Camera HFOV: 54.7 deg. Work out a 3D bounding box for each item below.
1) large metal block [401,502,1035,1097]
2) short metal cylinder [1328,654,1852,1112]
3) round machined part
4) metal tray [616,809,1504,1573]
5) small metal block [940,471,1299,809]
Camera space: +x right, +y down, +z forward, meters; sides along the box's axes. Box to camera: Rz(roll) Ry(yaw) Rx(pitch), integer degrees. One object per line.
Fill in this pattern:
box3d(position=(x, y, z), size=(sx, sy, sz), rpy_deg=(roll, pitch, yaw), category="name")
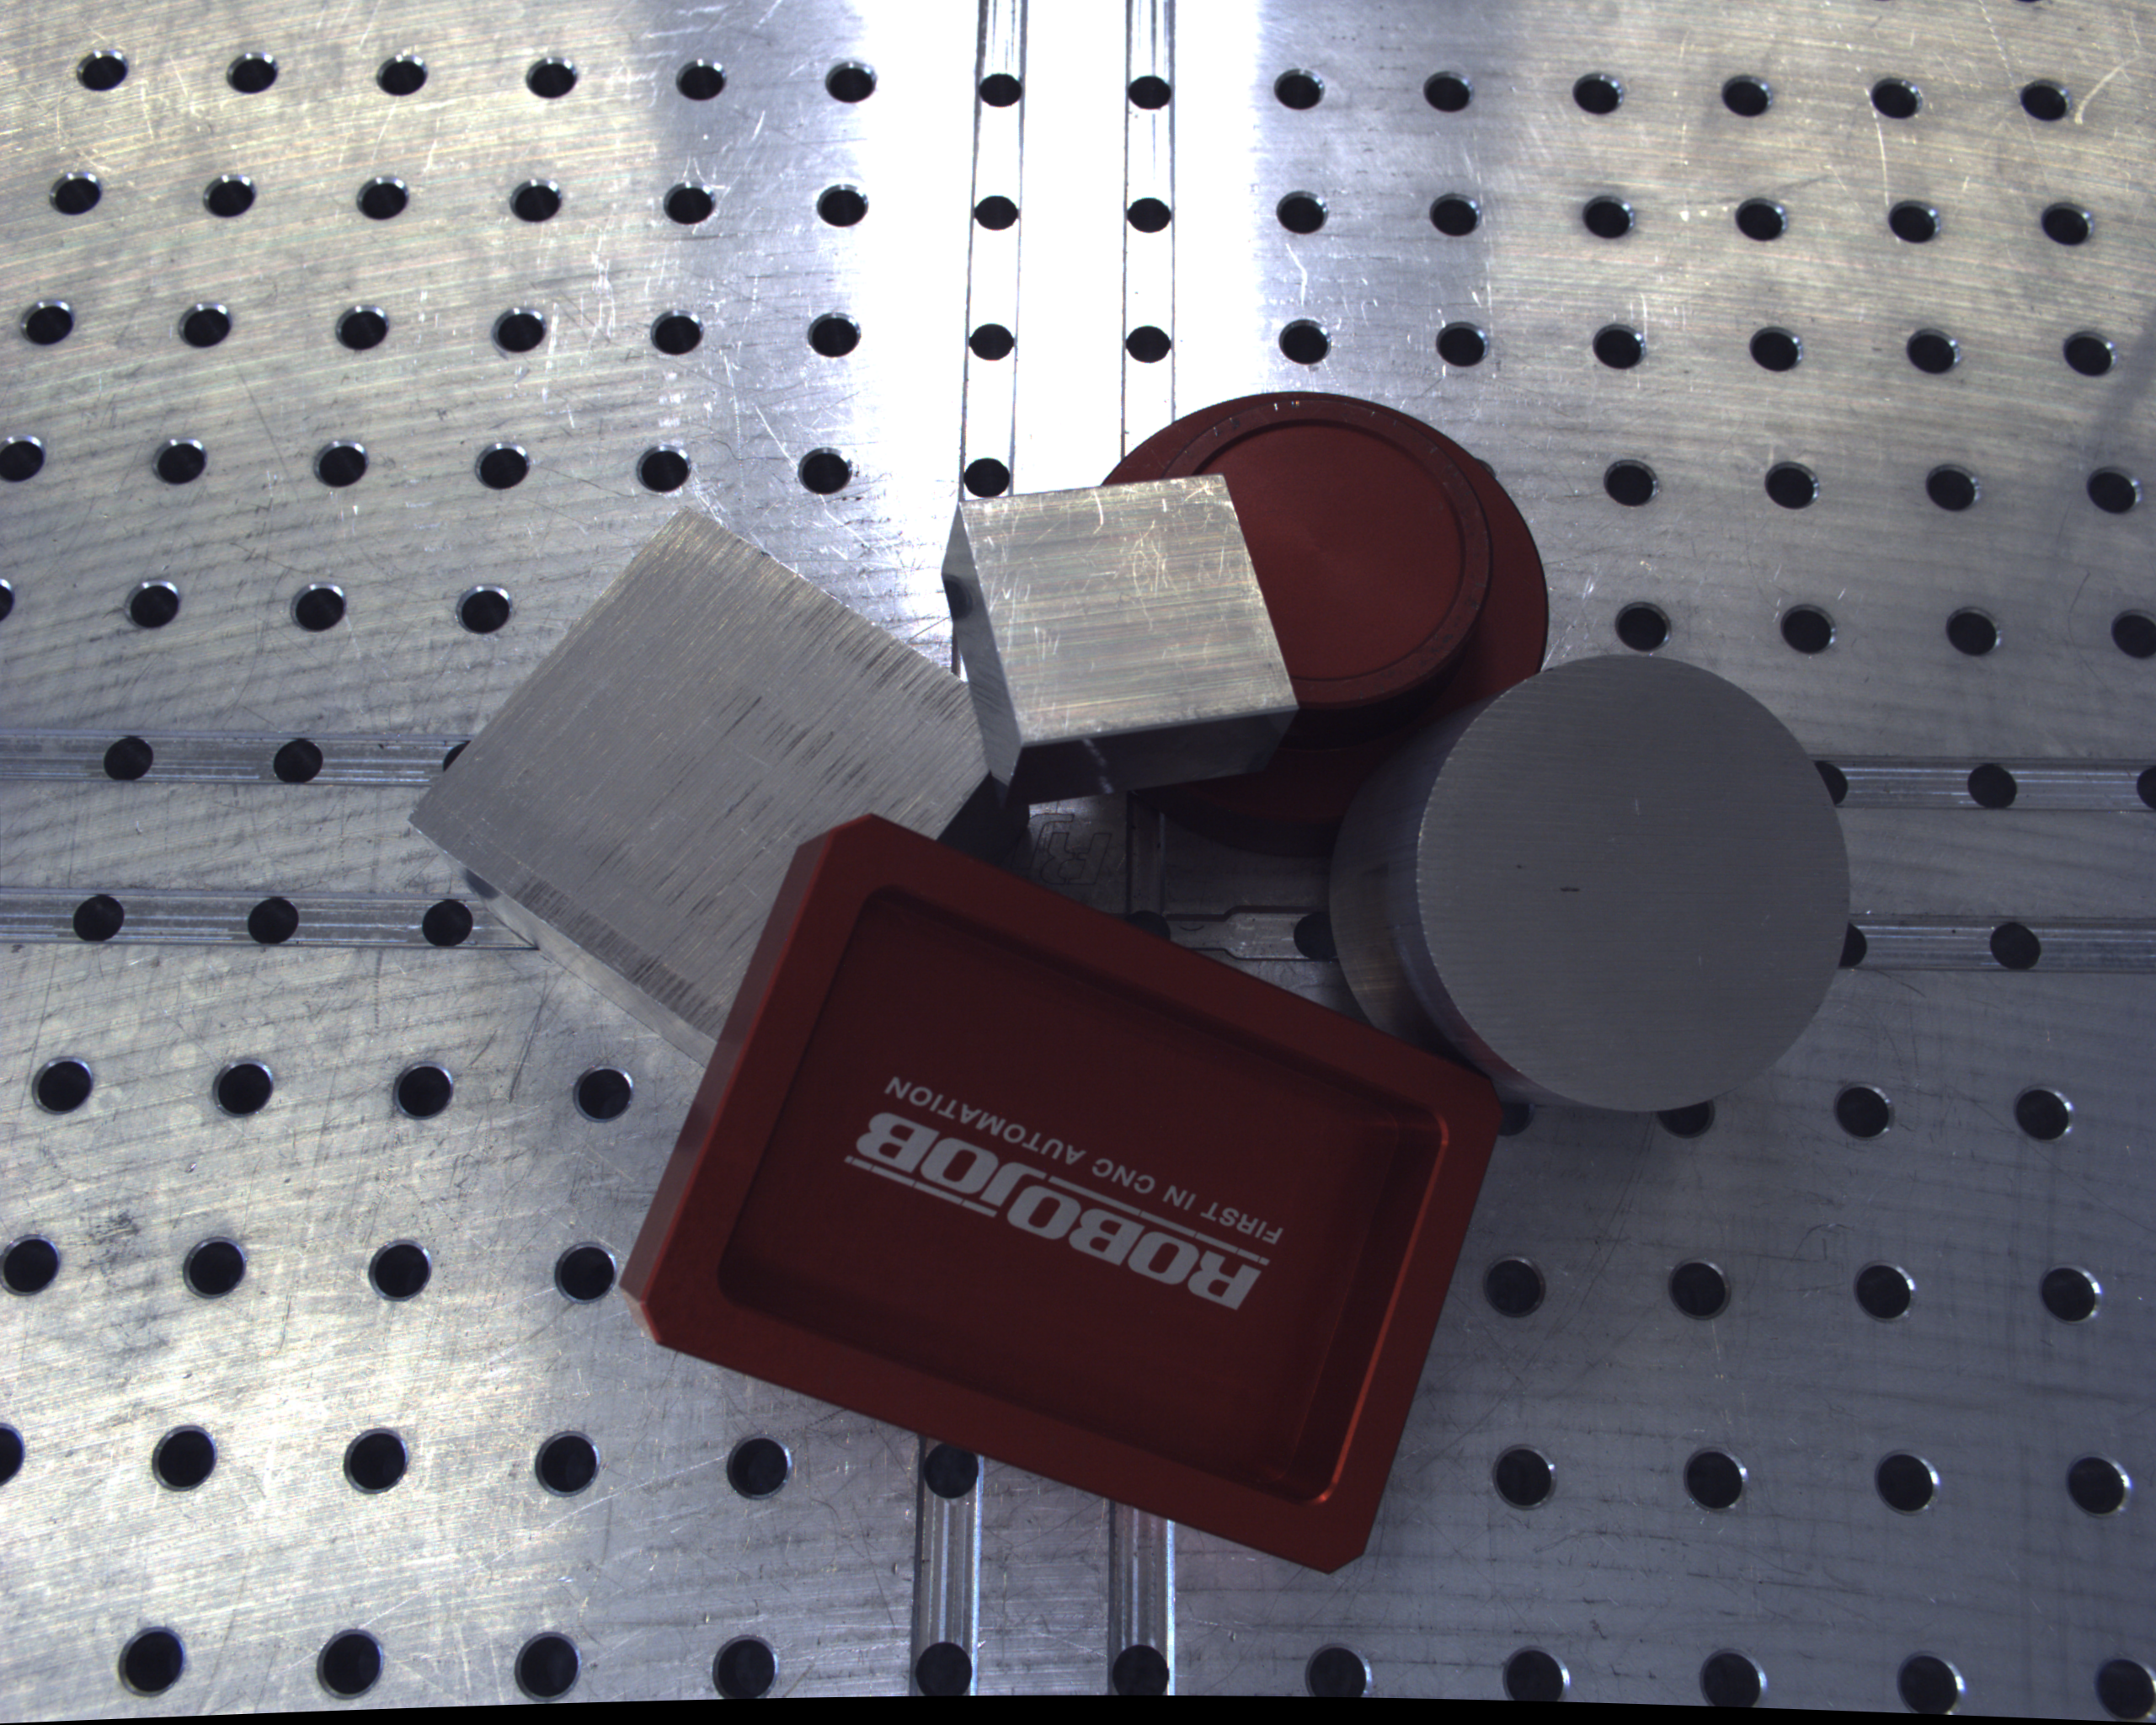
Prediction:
box3d(position=(-0.065, -0.008, 0.401), size=(0.080, 0.050, 0.080), rpy_deg=(34, 73, 11), category="large metal block")
box3d(position=(0.092, 0.006, 0.385), size=(0.081, 0.050, 0.080), rpy_deg=(1, 84, -11), category="short metal cylinder")
box3d(position=(0.046, -0.054, 0.422), size=(0.099, 0.042, 0.098), rpy_deg=(0, 70, 0), category="round machined part")
box3d(position=(0.000, 0.057, 0.358), size=(0.131, 0.030, 0.090), rpy_deg=(24, 77, -15), category="metal tray")
box3d(position=(0.006, -0.041, 0.377), size=(0.050, 0.025, 0.050), rpy_deg=(-9, 67, -15), category="small metal block")
